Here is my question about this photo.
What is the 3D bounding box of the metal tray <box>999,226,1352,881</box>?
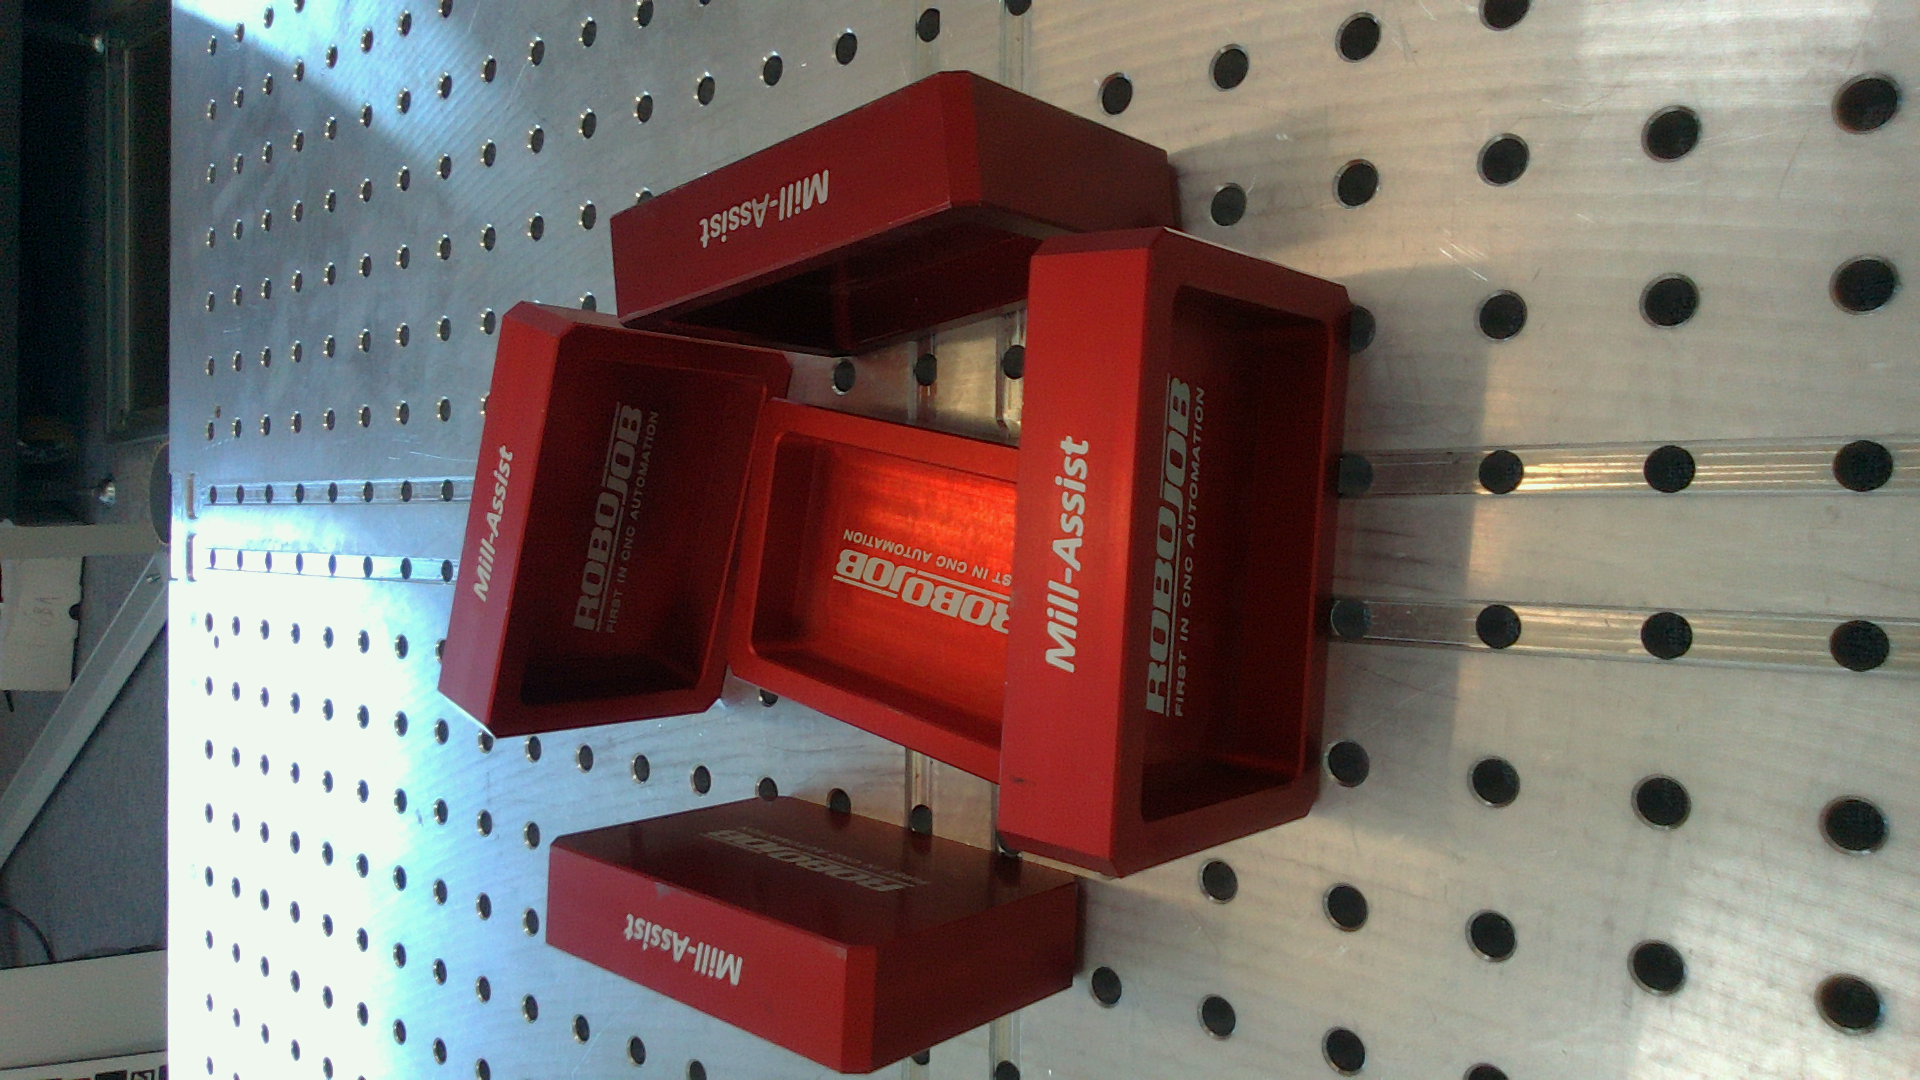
[{"bbox_3d":[0.052,0.002,0.312,0.030,0.090,0.130,6,94,40],"label":"metal tray"}]

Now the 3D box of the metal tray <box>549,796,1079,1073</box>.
[{"bbox_3d":[-0.043,0.105,0.392,0.129,0.090,0.030,5,93,40],"label":"metal tray"}]

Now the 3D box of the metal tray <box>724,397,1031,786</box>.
[{"bbox_3d":[-0.011,0.012,0.403,0.129,0.030,0.090,15,99,39],"label":"metal tray"}]

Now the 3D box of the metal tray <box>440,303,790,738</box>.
[{"bbox_3d":[-0.111,-0.005,0.448,0.030,0.090,0.130,23,105,38],"label":"metal tray"}]

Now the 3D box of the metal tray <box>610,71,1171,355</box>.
[{"bbox_3d":[-0.020,-0.081,0.371,0.129,0.090,0.030,-8,85,40],"label":"metal tray"}]
